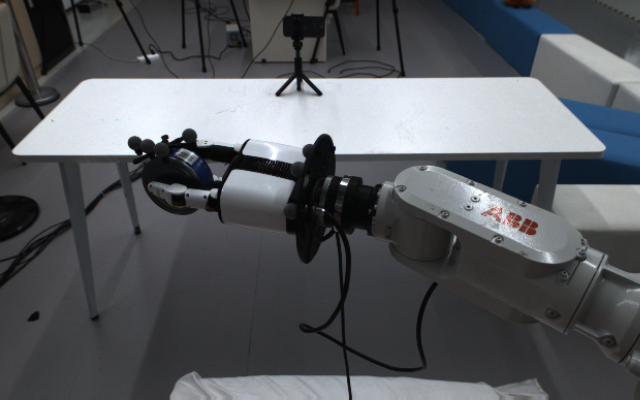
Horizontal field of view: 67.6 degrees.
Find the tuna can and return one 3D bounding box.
[{"bbox_3d":[-0.179,-0.023,0.625,0.085,0.085,0.034,9,33,10],"label":"tuna can"}]
